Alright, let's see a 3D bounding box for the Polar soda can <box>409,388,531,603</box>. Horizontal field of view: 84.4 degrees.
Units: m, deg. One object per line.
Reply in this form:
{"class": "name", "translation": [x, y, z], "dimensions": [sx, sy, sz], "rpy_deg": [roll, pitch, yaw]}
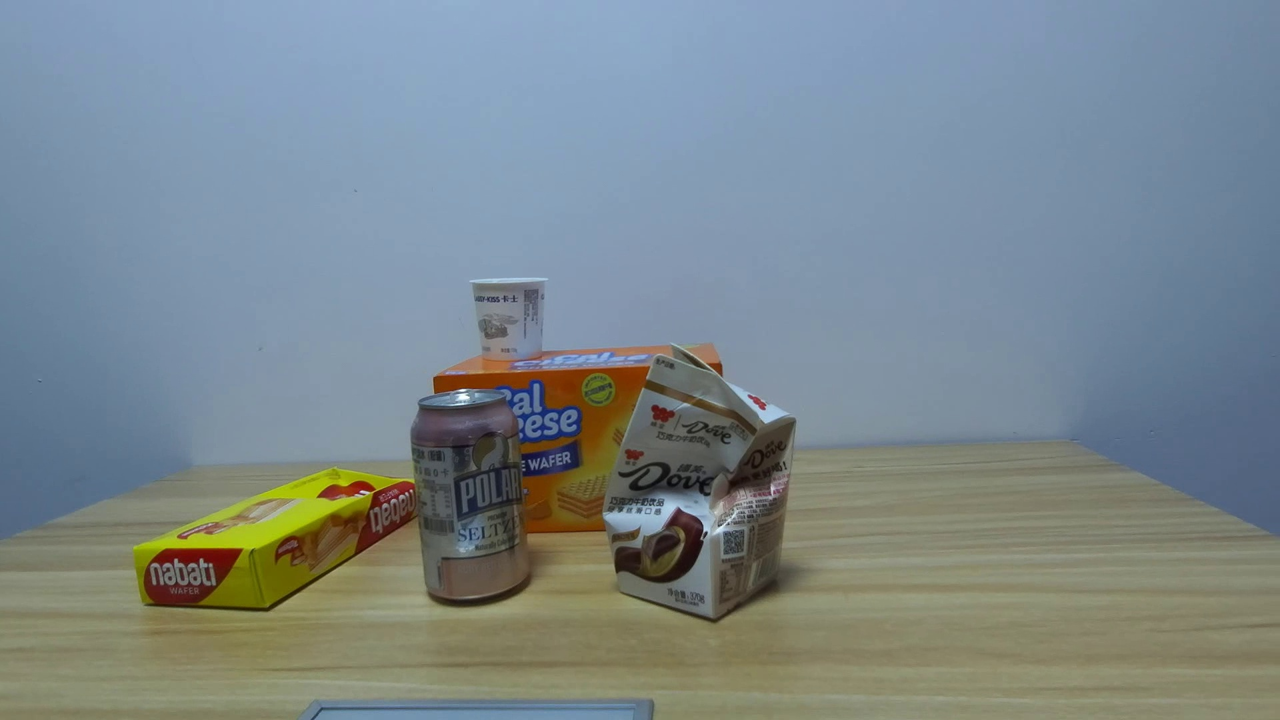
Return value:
{"class": "Polar soda can", "translation": [-0.108, 0.085, 0.449], "dimensions": [0.067, 0.125, 0.067], "rpy_deg": [-4, 5, 1]}

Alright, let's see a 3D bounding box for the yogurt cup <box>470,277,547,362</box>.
{"class": "yogurt cup", "translation": [-0.115, -0.036, 0.629], "dimensions": [0.072, 0.068, 0.072], "rpy_deg": [-1, 7, 0]}

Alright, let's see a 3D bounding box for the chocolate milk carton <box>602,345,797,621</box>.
{"class": "chocolate milk carton", "translation": [0.037, 0.071, 0.416], "dimensions": [0.089, 0.155, 0.077], "rpy_deg": [19, 23, 32]}

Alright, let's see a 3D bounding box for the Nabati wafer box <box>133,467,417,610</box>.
{"class": "Nabati wafer box", "translation": [-0.252, 0.123, 0.529], "dimensions": [0.096, 0.042, 0.203], "rpy_deg": [-3, 5, 12]}

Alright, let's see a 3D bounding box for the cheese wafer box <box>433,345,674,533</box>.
{"class": "cheese wafer box", "translation": [-0.044, 0.062, 0.606], "dimensions": [0.222, 0.129, 0.148], "rpy_deg": [-3, 6, 1]}
